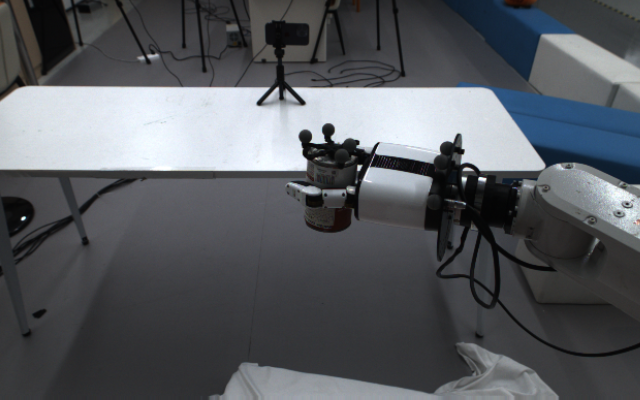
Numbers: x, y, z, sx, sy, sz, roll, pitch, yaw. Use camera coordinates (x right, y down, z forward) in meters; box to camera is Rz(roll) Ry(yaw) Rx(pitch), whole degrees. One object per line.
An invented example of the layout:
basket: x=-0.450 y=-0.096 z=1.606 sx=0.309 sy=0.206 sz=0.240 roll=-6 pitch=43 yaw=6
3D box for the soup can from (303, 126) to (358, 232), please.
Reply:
soup can: x=0.014 y=-0.016 z=0.648 sx=0.067 sy=0.101 sz=0.067 roll=3 pitch=30 yaw=-2
